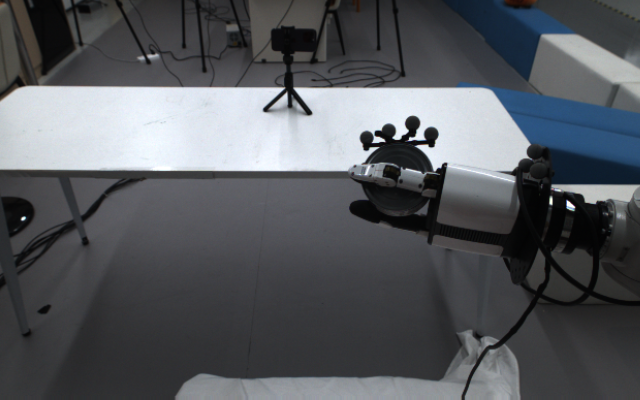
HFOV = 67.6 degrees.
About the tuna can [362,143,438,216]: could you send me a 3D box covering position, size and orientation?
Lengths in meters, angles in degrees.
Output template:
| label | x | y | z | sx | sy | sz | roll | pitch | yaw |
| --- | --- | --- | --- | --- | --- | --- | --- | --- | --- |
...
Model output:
| label | x | y | z | sx | sy | sz | roll | pitch | yaw |
| --- | --- | --- | --- | --- | --- | --- | --- | --- | --- |
| tuna can | 0.095 | -0.025 | 0.589 | 0.085 | 0.034 | 0.085 | -4 | 73 | 15 |
